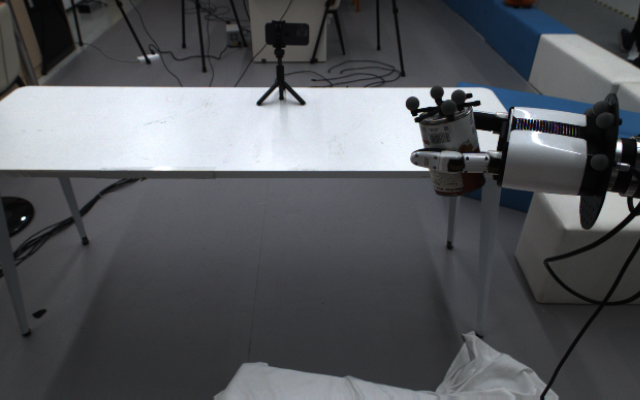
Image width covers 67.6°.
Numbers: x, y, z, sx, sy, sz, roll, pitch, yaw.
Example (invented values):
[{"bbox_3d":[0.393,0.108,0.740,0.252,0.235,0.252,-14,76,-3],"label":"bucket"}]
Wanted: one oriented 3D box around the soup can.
[{"bbox_3d":[0.169,-0.066,0.616,0.067,0.101,0.067,-16,23,7],"label":"soup can"}]
